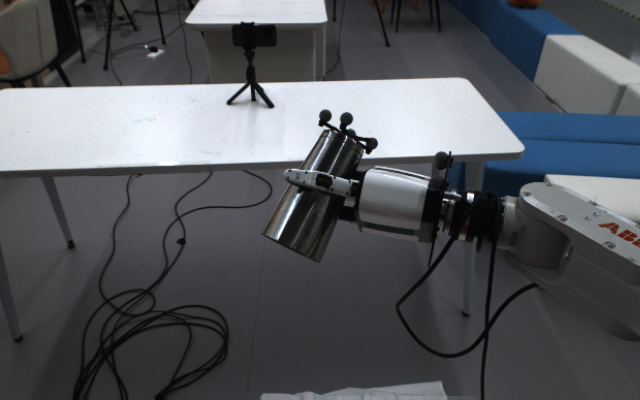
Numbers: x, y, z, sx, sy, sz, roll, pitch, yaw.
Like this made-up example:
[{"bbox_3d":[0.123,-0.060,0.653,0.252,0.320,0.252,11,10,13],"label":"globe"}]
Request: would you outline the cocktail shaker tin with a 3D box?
[{"bbox_3d":[-0.003,-0.012,0.677,0.093,0.093,0.170,21,81,25],"label":"cocktail shaker tin"}]
